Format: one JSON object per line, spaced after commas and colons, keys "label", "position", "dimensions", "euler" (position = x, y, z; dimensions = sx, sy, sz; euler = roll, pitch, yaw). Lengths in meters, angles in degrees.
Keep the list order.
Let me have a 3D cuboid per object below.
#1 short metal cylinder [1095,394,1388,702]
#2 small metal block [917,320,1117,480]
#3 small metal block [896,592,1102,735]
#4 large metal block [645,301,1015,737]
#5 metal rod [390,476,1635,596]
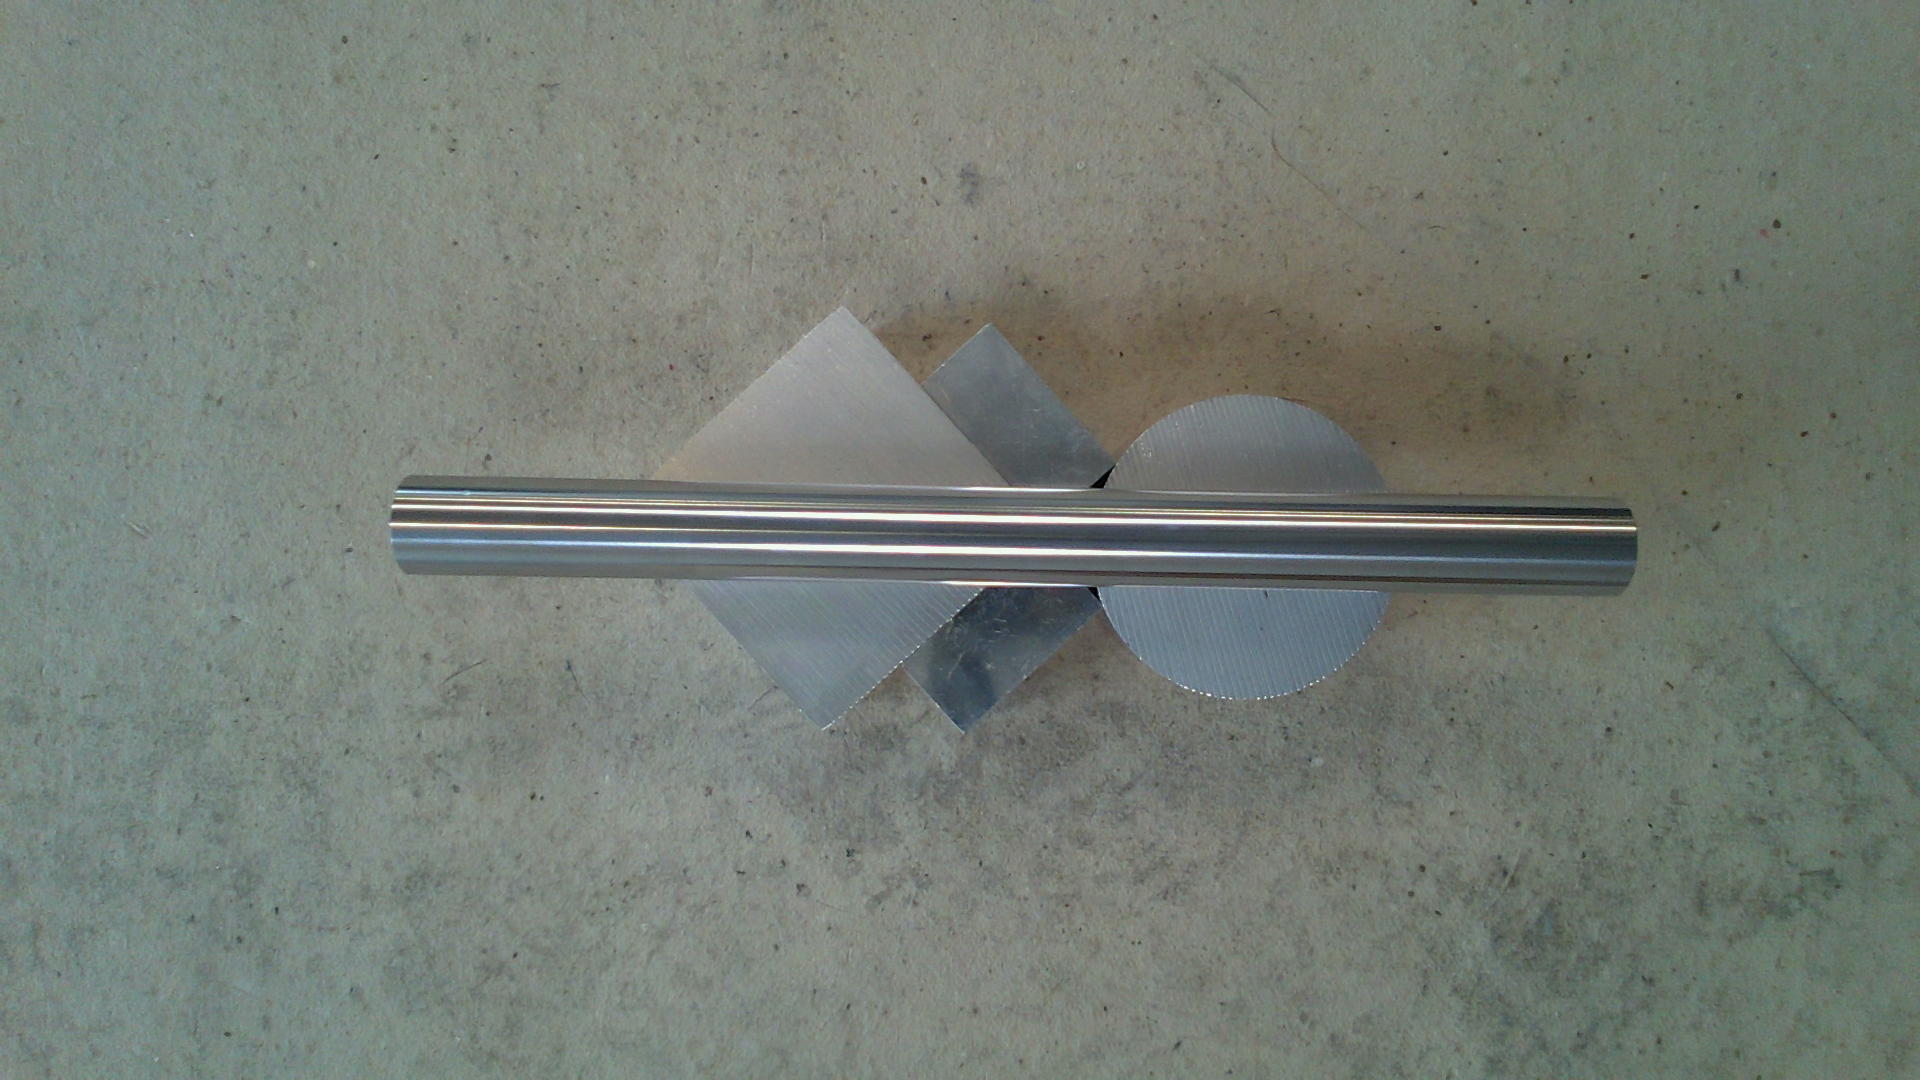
{"label": "short metal cylinder", "position": [0.074, 0.002, 0.383], "dimensions": [0.080, 0.050, 0.080], "euler": [0, 90, 0]}
{"label": "small metal block", "position": [0.015, -0.031, 0.384], "dimensions": [0.025, 0.050, 0.050], "euler": [-42, 90, 0]}
{"label": "small metal block", "position": [0.010, 0.025, 0.384], "dimensions": [0.050, 0.050, 0.025], "euler": [-42, 90, 0]}
{"label": "large metal block", "position": [-0.034, -0.006, 0.381], "dimensions": [0.080, 0.050, 0.080], "euler": [-42, 90, 0]}
{"label": "metal rod", "position": [0.013, -0.001, 0.344], "dimensions": [0.300, 0.025, 0.025], "euler": [1, 90, 0]}
